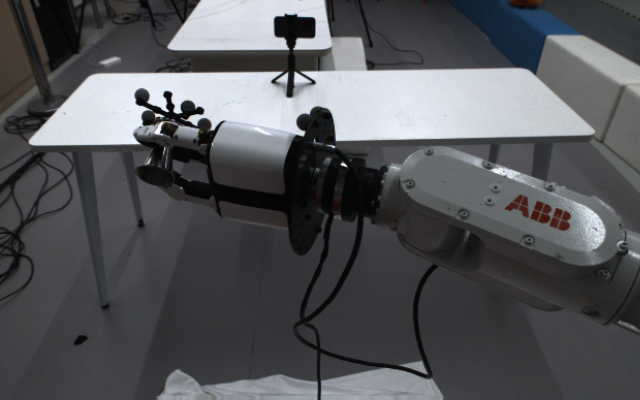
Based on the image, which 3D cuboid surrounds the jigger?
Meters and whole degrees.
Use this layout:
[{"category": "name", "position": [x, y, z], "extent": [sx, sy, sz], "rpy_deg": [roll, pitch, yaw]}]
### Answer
[{"category": "jigger", "position": [-0.186, -0.058, 0.560], "extent": [0.043, 0.043, 0.071], "rpy_deg": [4, 61, 2]}]
